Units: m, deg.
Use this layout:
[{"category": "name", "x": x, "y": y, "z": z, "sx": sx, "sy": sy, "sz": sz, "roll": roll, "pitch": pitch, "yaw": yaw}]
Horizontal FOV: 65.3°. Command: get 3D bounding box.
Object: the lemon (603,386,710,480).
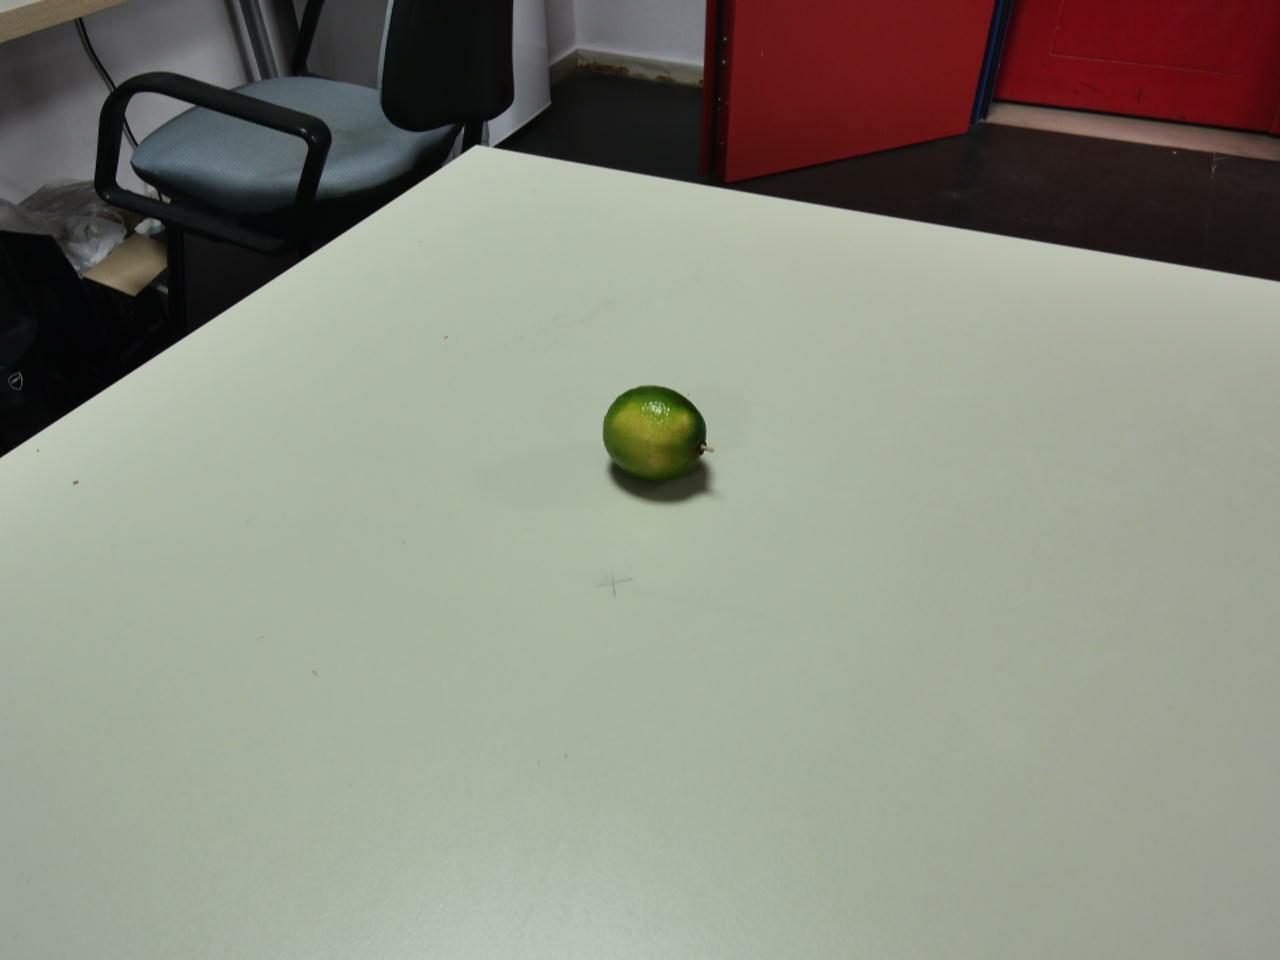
[{"category": "lemon", "x": 0.008, "y": -0.026, "z": 0.543, "sx": 0.054, "sy": 0.050, "sz": 0.055, "roll": -8, "pitch": 39, "yaw": -11}]
